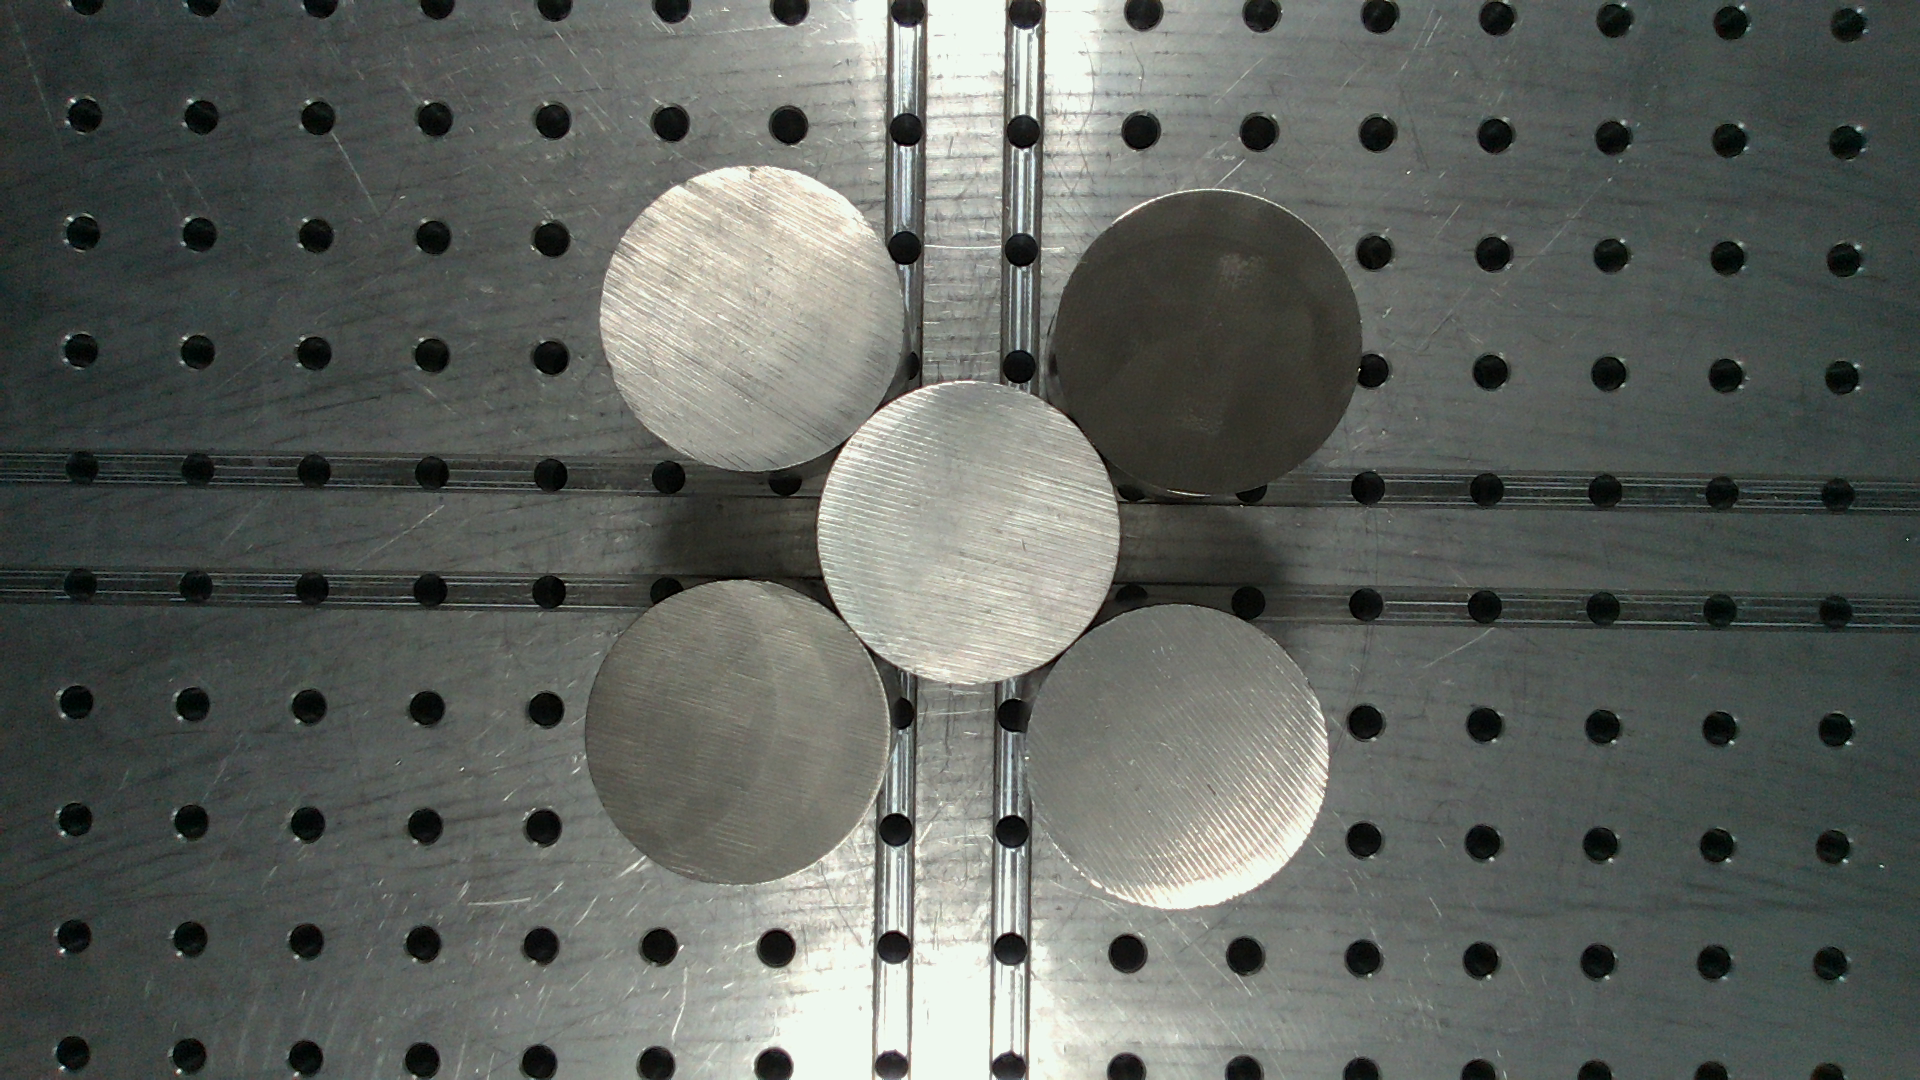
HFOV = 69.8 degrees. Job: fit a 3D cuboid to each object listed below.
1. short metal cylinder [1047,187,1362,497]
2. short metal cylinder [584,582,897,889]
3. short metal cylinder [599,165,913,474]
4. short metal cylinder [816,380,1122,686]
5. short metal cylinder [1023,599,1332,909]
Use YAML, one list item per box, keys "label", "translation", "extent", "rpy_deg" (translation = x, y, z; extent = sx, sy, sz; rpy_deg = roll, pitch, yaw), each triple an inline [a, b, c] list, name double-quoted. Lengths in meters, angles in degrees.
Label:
- label: "short metal cylinder"
  translation: [0.065, -0.052, 0.383]
  extent: [0.080, 0.050, 0.080]
  rpy_deg: [0, 90, 0]
- label: "short metal cylinder"
  translation: [-0.058, 0.051, 0.384]
  extent: [0.080, 0.050, 0.080]
  rpy_deg: [0, 90, 0]
- label: "short metal cylinder"
  translation: [-0.054, -0.058, 0.384]
  extent: [0.080, 0.050, 0.080]
  rpy_deg: [0, 90, 0]
- label: "short metal cylinder"
  translation: [0.003, -0.002, 0.385]
  extent: [0.080, 0.050, 0.080]
  rpy_deg: [0, 90, 0]
- label: "short metal cylinder"
  translation: [0.058, 0.057, 0.385]
  extent: [0.080, 0.050, 0.080]
  rpy_deg: [0, 90, 0]
